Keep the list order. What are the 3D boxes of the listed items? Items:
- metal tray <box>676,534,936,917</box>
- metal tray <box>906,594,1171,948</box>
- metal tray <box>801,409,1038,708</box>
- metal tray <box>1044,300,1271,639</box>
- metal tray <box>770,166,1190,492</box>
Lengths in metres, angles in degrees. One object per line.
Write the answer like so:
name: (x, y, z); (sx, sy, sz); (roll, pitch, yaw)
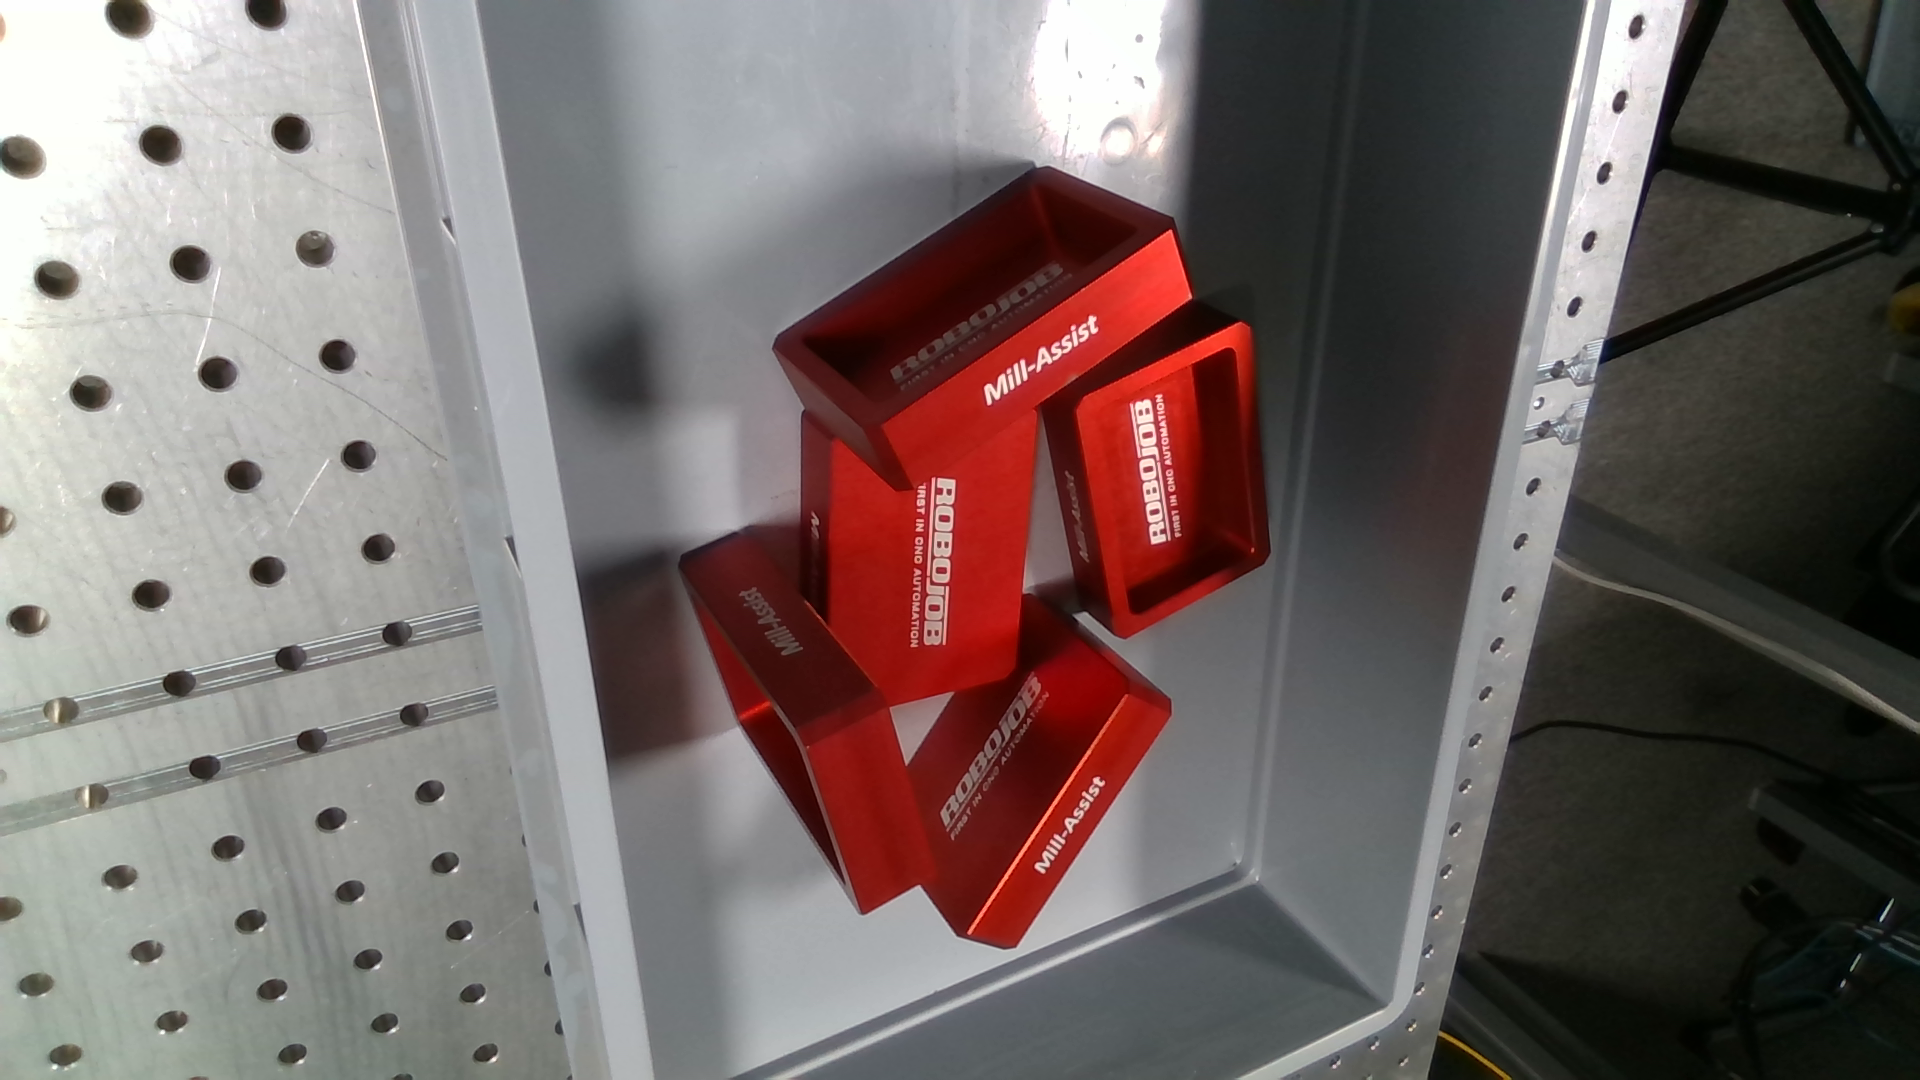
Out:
metal tray: (-0.059, 0.065, 0.509); (0.030, 0.130, 0.090); (-26, 126, -18)
metal tray: (0.024, 0.100, 0.605); (0.030, 0.090, 0.130); (28, 99, -38)
metal tray: (-0.018, 0.004, 0.565); (0.090, 0.030, 0.130); (-11, 120, -26)
metal tray: (0.090, -0.030, 0.615); (0.090, 0.030, 0.130); (-26, 126, -17)
metal tray: (0.006, -0.080, 0.497); (0.130, 0.090, 0.030); (-35, 129, -10)
